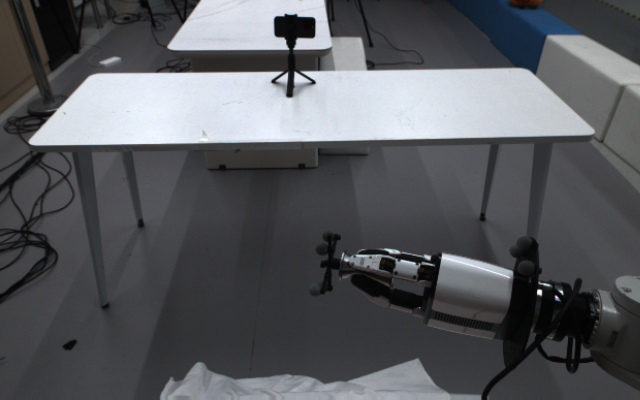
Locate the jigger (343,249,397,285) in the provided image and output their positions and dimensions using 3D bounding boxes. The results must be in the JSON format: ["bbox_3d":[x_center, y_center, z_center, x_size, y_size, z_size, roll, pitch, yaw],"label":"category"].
[{"bbox_3d":[0.069,0.085,0.626,0.071,0.043,0.043,7,35,13],"label":"jigger"}]
